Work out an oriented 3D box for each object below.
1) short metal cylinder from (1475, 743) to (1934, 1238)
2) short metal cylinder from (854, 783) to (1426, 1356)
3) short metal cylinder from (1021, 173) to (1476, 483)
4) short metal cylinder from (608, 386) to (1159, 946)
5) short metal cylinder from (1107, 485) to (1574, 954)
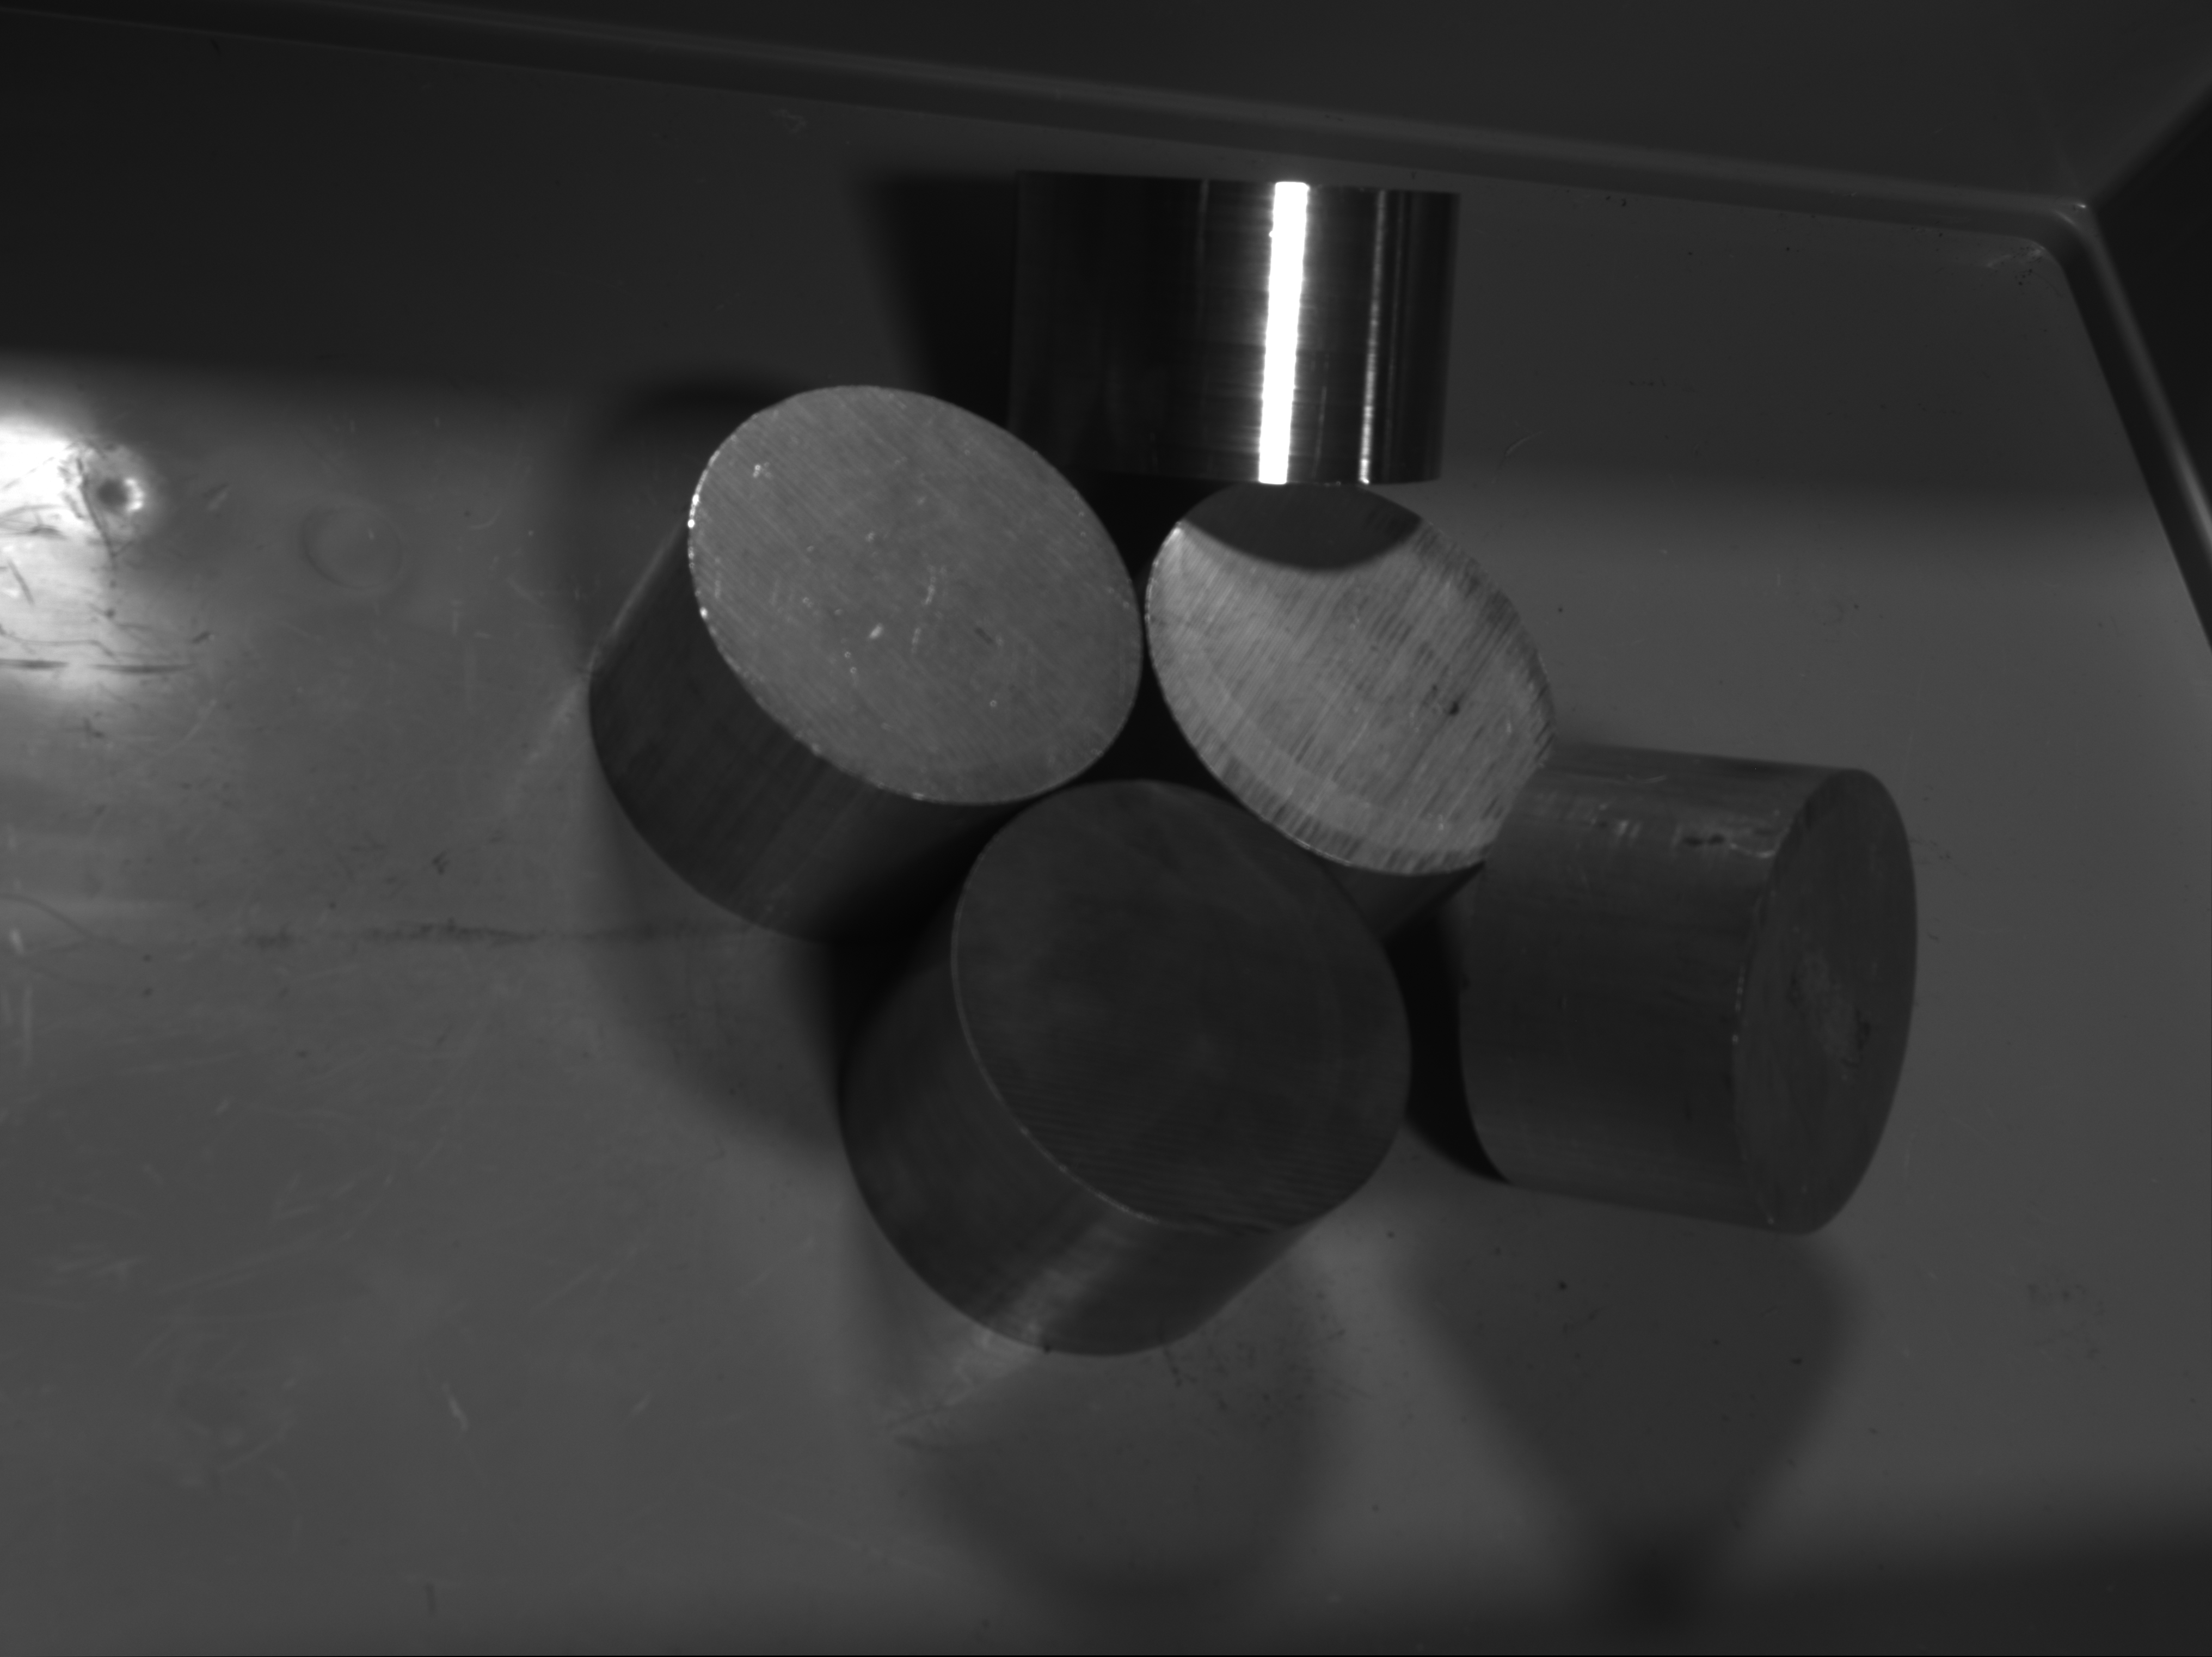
[{"bbox_3d":[0.105,0.027,0.636,0.080,0.050,0.080,-16,109,-55],"label":"short metal cylinder"},{"bbox_3d":[0.005,0.040,0.600,0.080,0.050,0.080,14,56,-21],"label":"short metal cylinder"},{"bbox_3d":[0.025,-0.091,0.663,0.080,0.080,0.050,-3,101,-29],"label":"short metal cylinder"},{"bbox_3d":[-0.038,-0.027,0.618,0.080,0.050,0.080,14,56,-21],"label":"short metal cylinder"},{"bbox_3d":[0.036,-0.016,0.650,0.080,0.050,0.080,14,56,-21],"label":"short metal cylinder"}]
